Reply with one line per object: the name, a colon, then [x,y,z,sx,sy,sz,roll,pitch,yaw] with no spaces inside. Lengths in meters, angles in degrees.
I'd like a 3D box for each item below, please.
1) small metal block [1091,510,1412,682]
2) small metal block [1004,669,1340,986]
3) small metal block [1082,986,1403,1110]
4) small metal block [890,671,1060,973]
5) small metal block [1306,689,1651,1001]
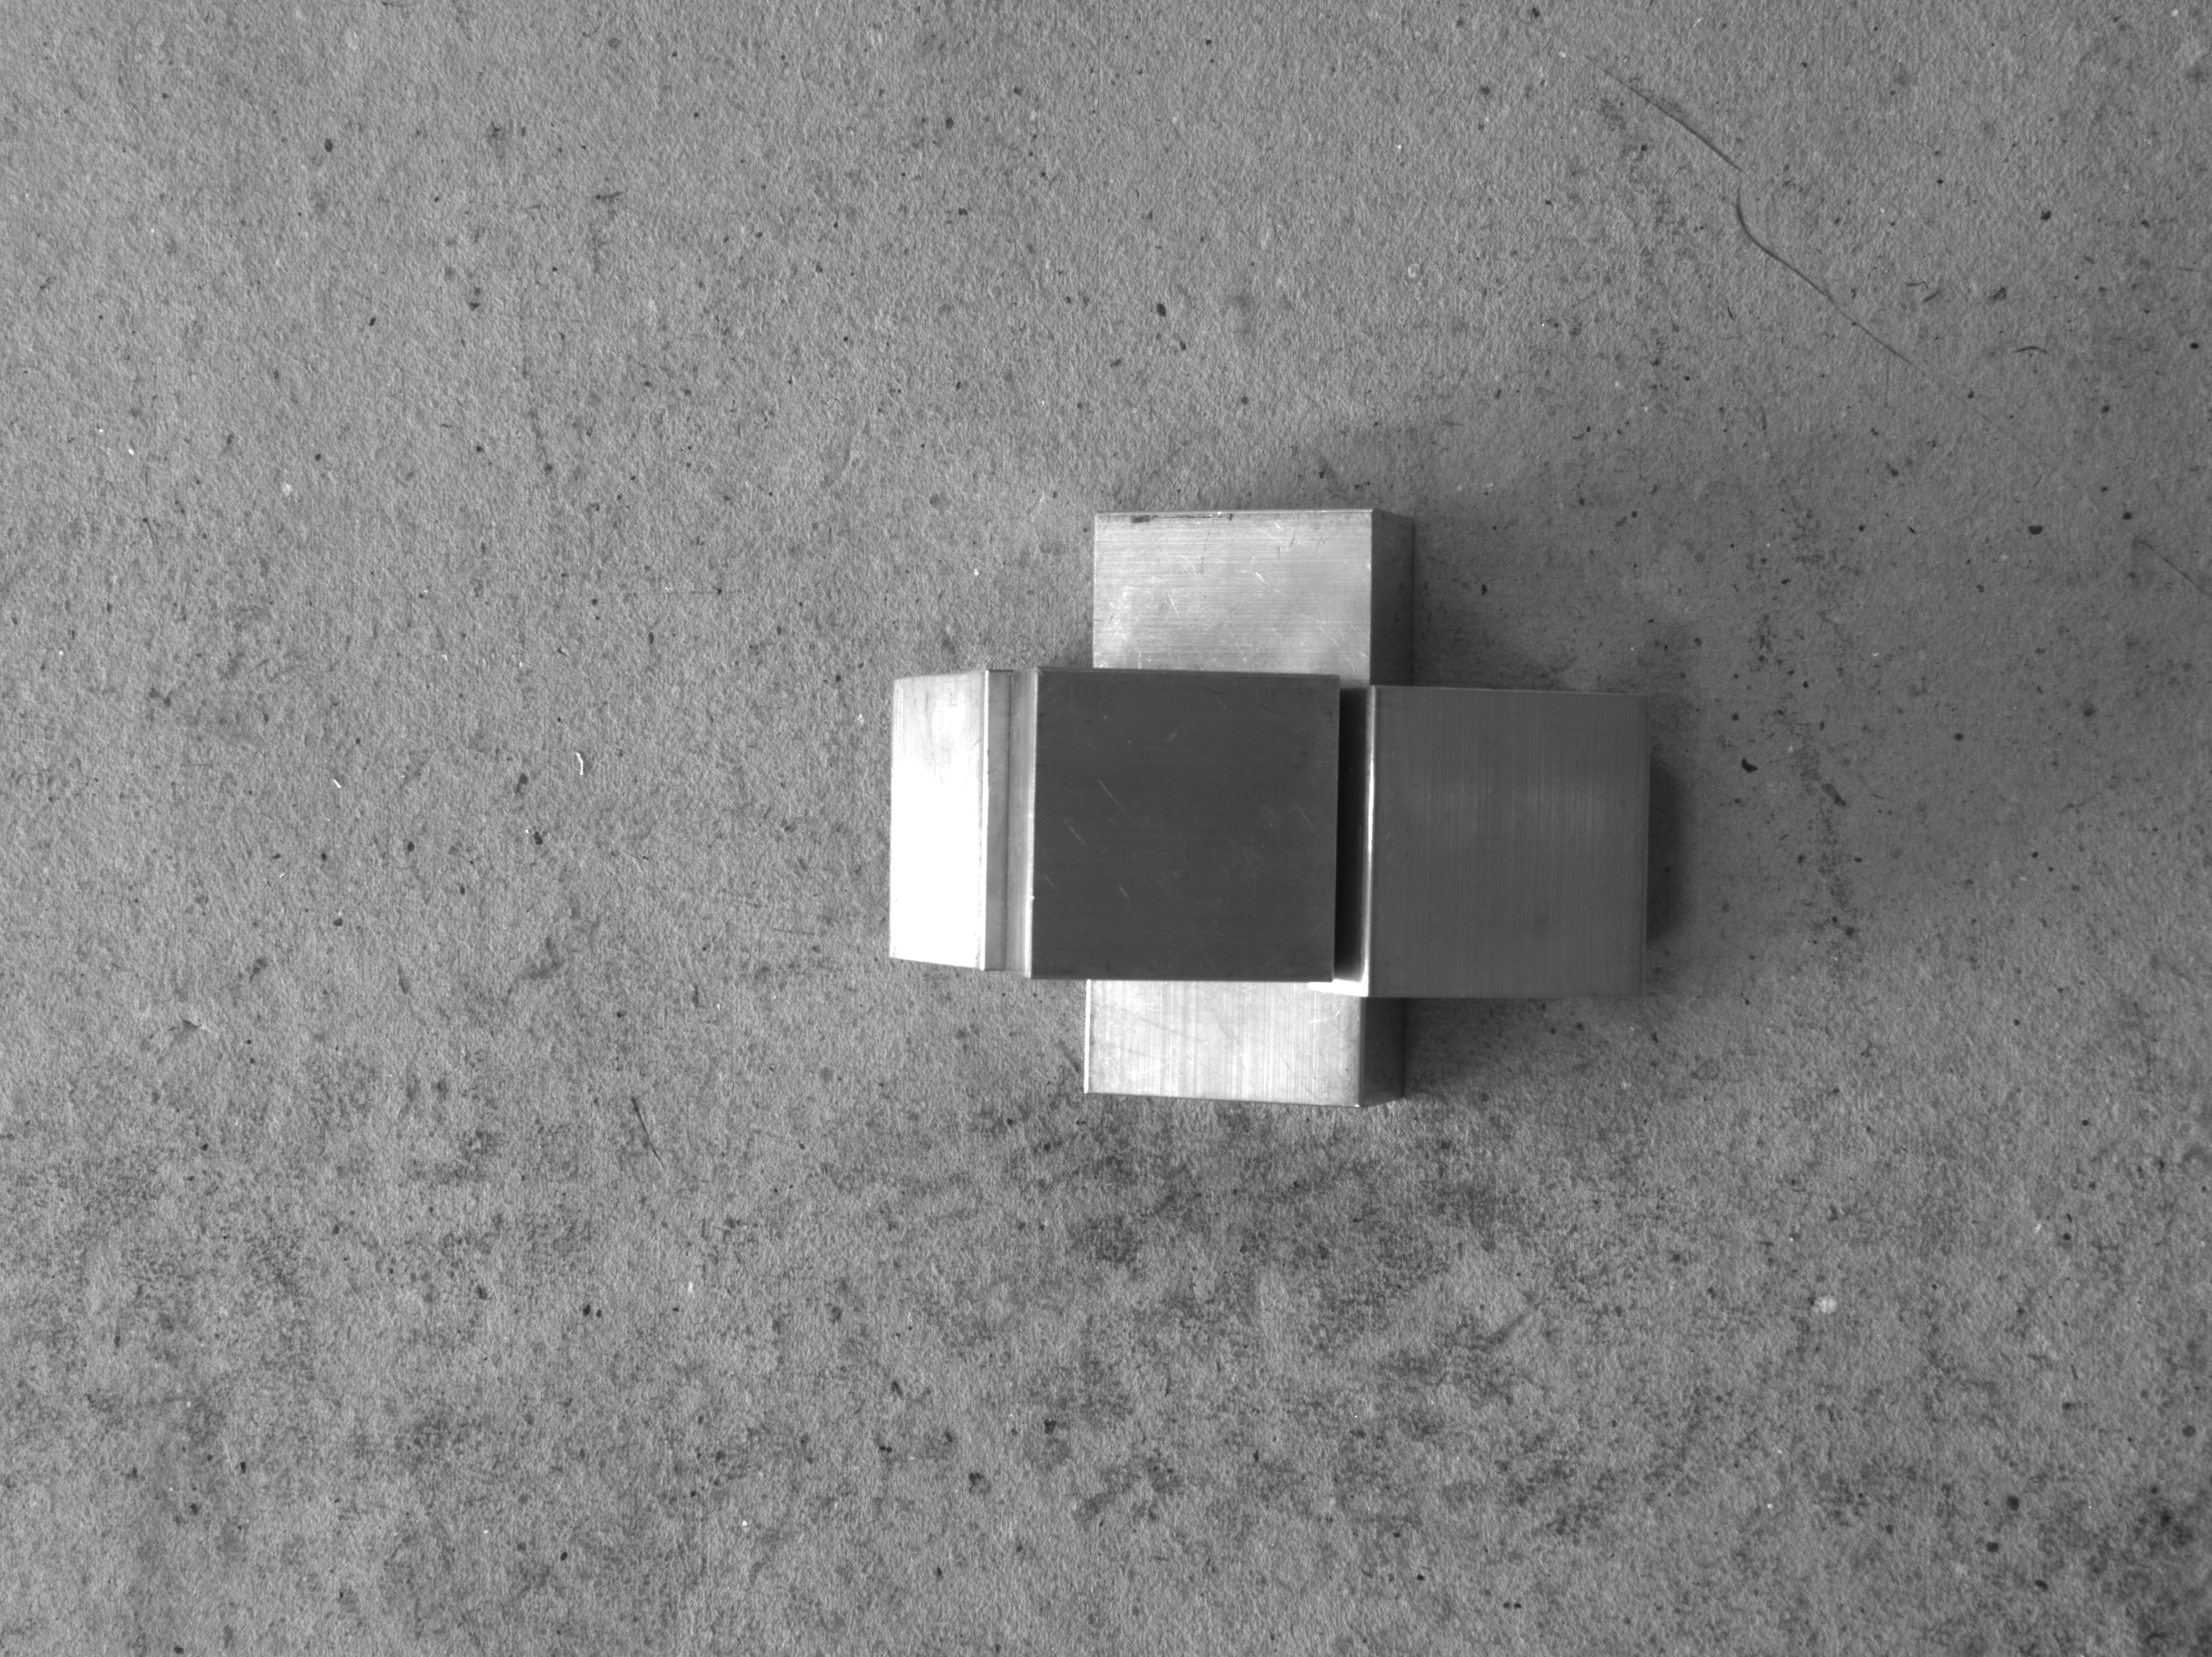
small metal block: [0.025,-0.029,0.637,0.050,0.025,0.050,1,90,20]
small metal block: [0.011,0.000,0.604,0.050,0.025,0.050,1,90,-11]
small metal block: [0.024,0.022,0.638,0.050,0.025,0.050,1,90,20]
small metal block: [-0.017,-0.001,0.639,0.025,0.050,0.050,1,90,-22]
small metal block: [0.062,0.003,0.611,0.050,0.025,0.050,1,91,-20]
